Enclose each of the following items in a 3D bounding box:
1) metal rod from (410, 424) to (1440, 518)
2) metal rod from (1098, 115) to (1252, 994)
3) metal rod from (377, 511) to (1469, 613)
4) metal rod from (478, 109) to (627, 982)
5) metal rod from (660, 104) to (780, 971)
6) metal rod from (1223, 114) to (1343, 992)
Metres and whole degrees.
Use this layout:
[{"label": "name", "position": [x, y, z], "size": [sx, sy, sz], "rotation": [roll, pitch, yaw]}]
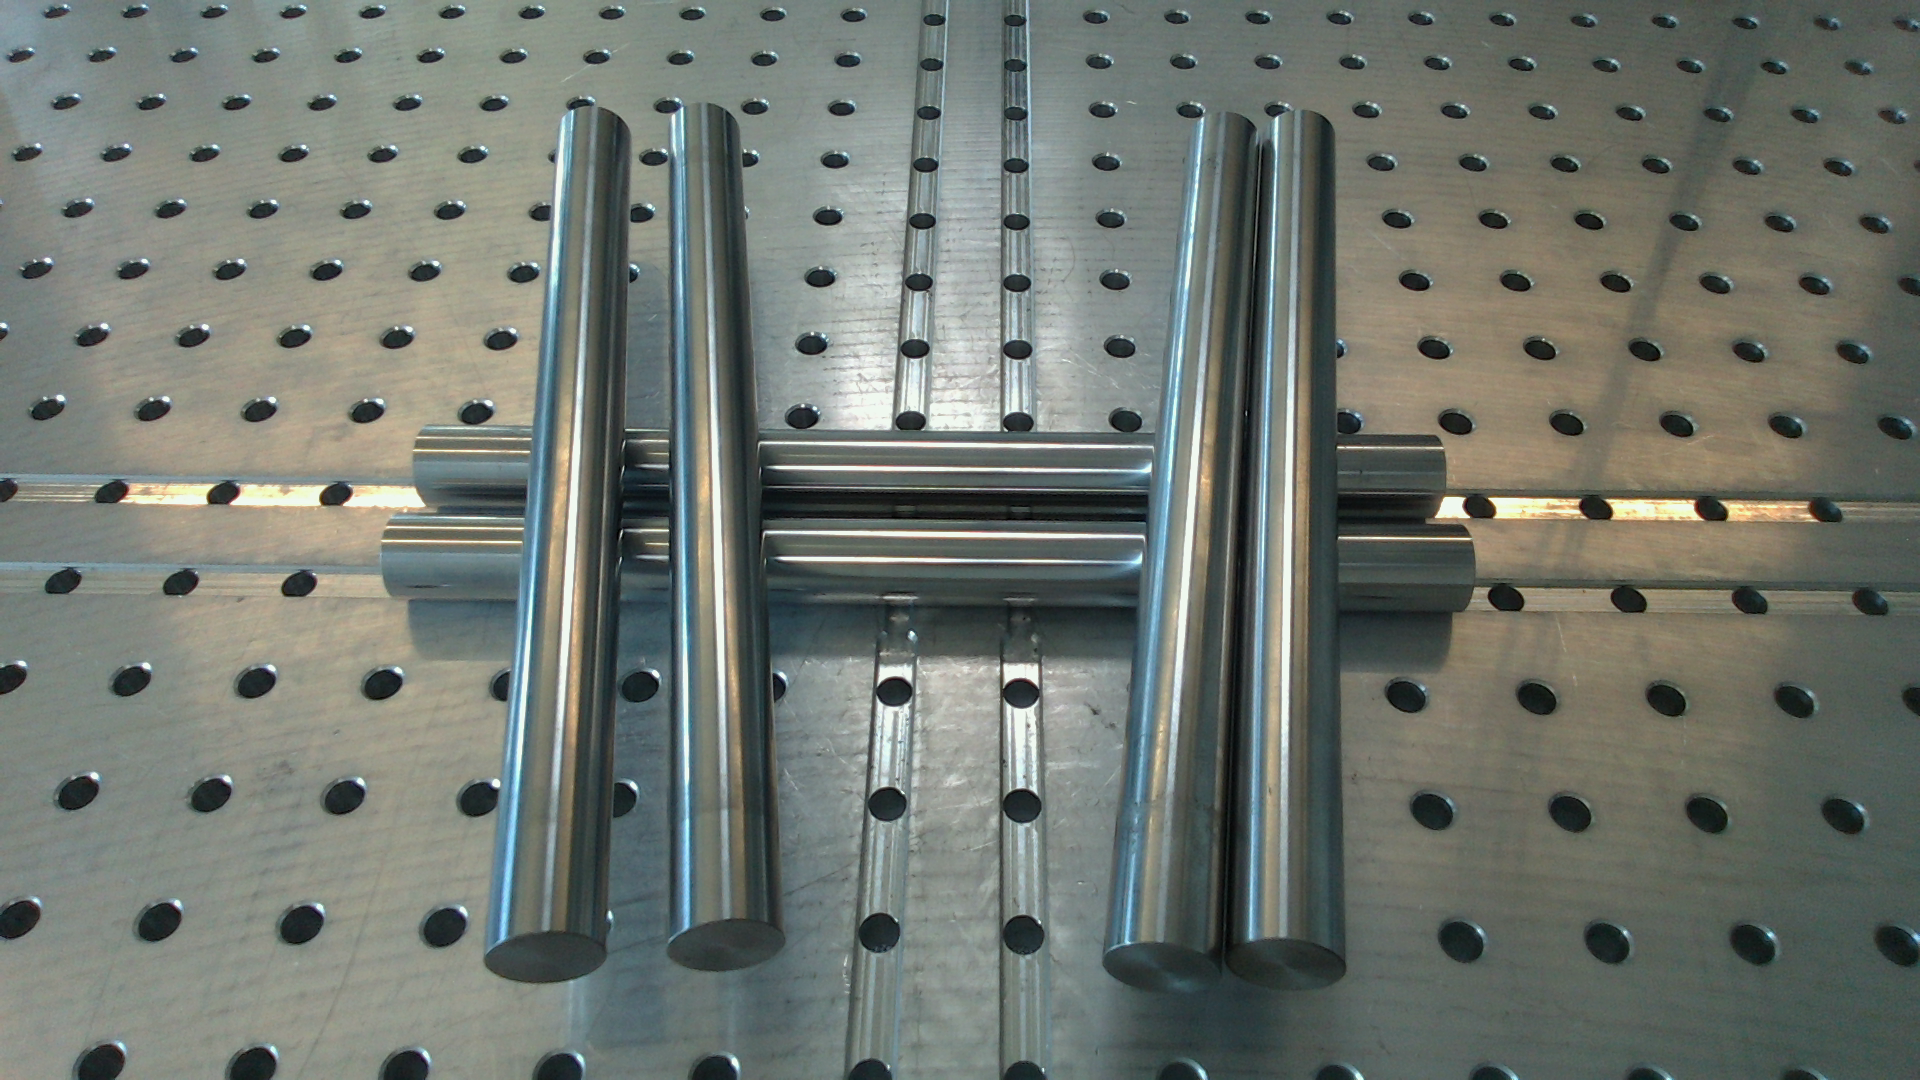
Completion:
[{"label": "metal rod", "position": [-0.011, -0.021, 0.413], "size": [0.300, 0.025, 0.025], "rotation": [1, 50, 0]}, {"label": "metal rod", "position": [0.065, -0.024, 0.383], "size": [0.025, 0.025, 0.300], "rotation": [7, 50, 6]}, {"label": "metal rod", "position": [-0.010, 0.006, 0.390], "size": [0.300, 0.025, 0.025], "rotation": [1, 50, 0]}, {"label": "metal rod", "position": [-0.108, -0.026, 0.384], "size": [0.025, 0.025, 0.300], "rotation": [-6, 50, -5]}, {"label": "metal rod", "position": [-0.070, -0.028, 0.386], "size": [0.025, 0.025, 0.300], "rotation": [-6, 50, -5]}, {"label": "metal rod", "position": [0.091, -0.024, 0.383], "size": [0.025, 0.025, 0.300], "rotation": [7, 50, 6]}]
